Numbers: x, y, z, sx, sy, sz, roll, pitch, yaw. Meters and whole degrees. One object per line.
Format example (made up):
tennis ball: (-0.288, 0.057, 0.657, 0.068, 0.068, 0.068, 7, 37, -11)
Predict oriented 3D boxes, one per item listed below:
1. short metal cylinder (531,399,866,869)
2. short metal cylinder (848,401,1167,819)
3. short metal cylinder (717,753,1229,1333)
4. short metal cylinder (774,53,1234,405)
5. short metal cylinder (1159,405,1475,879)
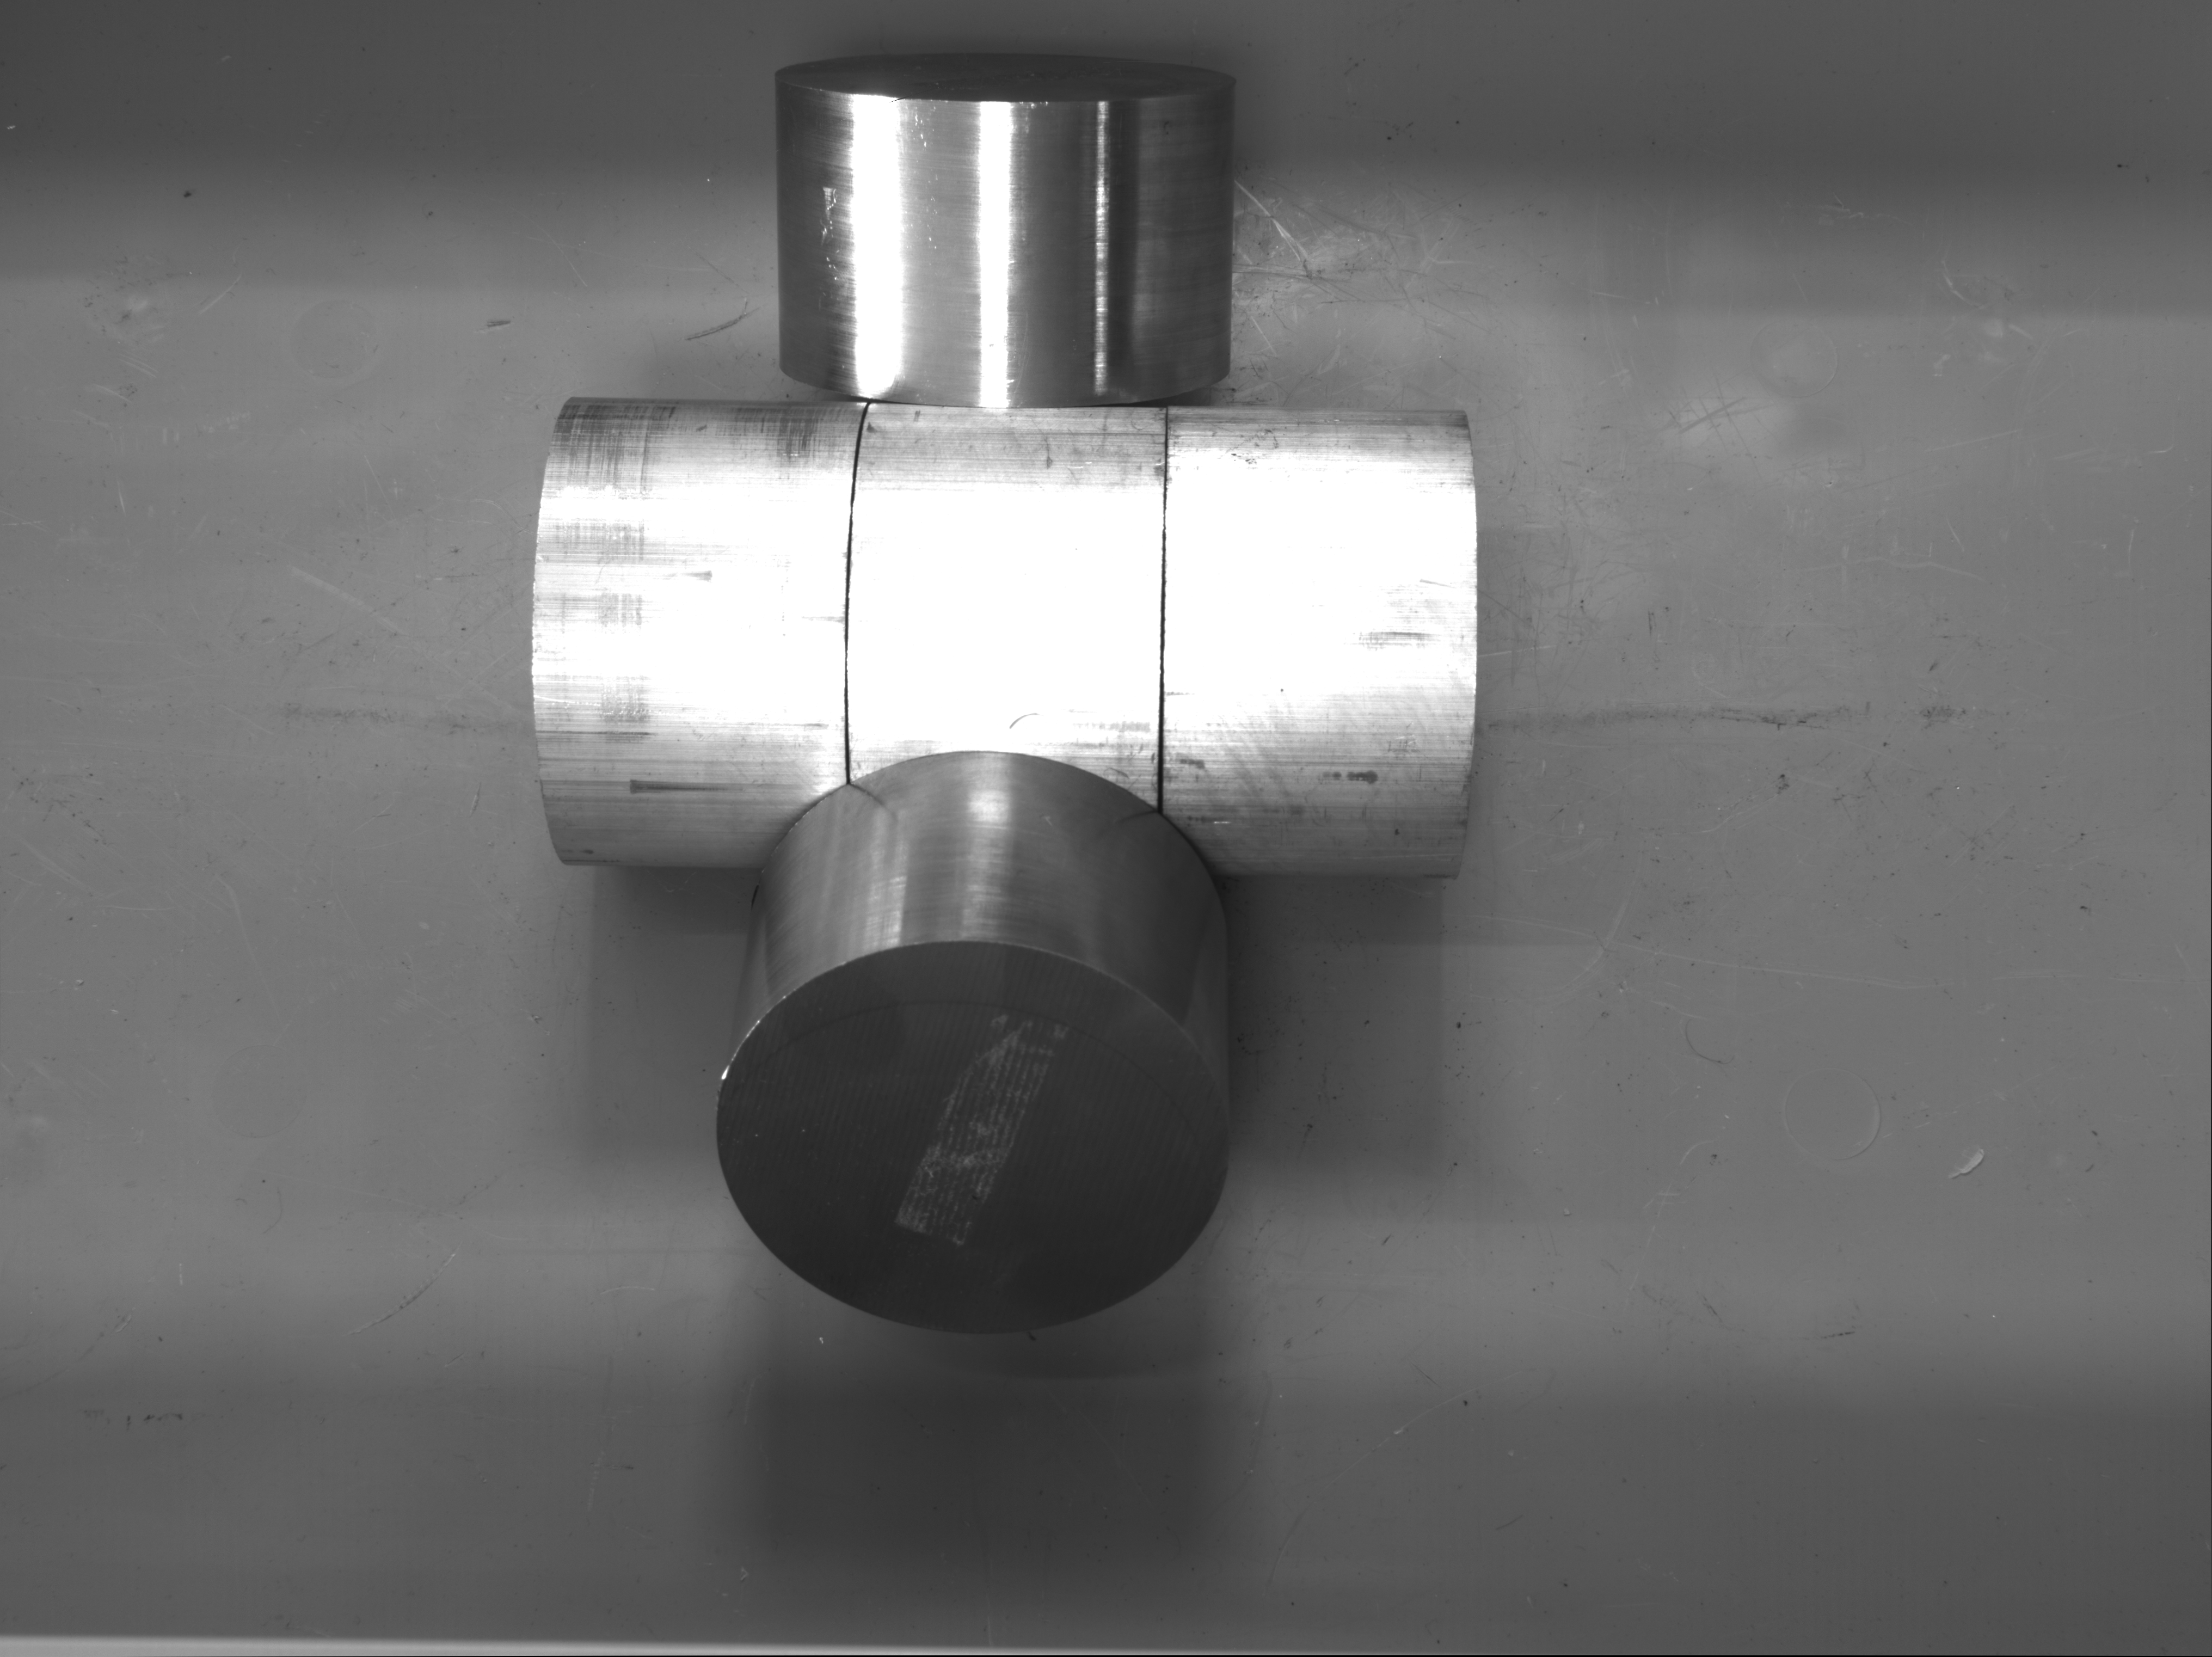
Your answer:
short metal cylinder: (-0.066, -0.033, 0.626, 0.050, 0.080, 0.080, 1, 70, 1)
short metal cylinder: (-0.015, -0.032, 0.626, 0.050, 0.080, 0.080, 1, 70, 1)
short metal cylinder: (-0.021, 0.035, 0.594, 0.080, 0.080, 0.050, 0, 36, 0)
short metal cylinder: (-0.018, -0.107, 0.646, 0.080, 0.080, 0.050, 2, 108, 1)
short metal cylinder: (0.035, -0.032, 0.626, 0.050, 0.080, 0.080, 1, 70, 1)
